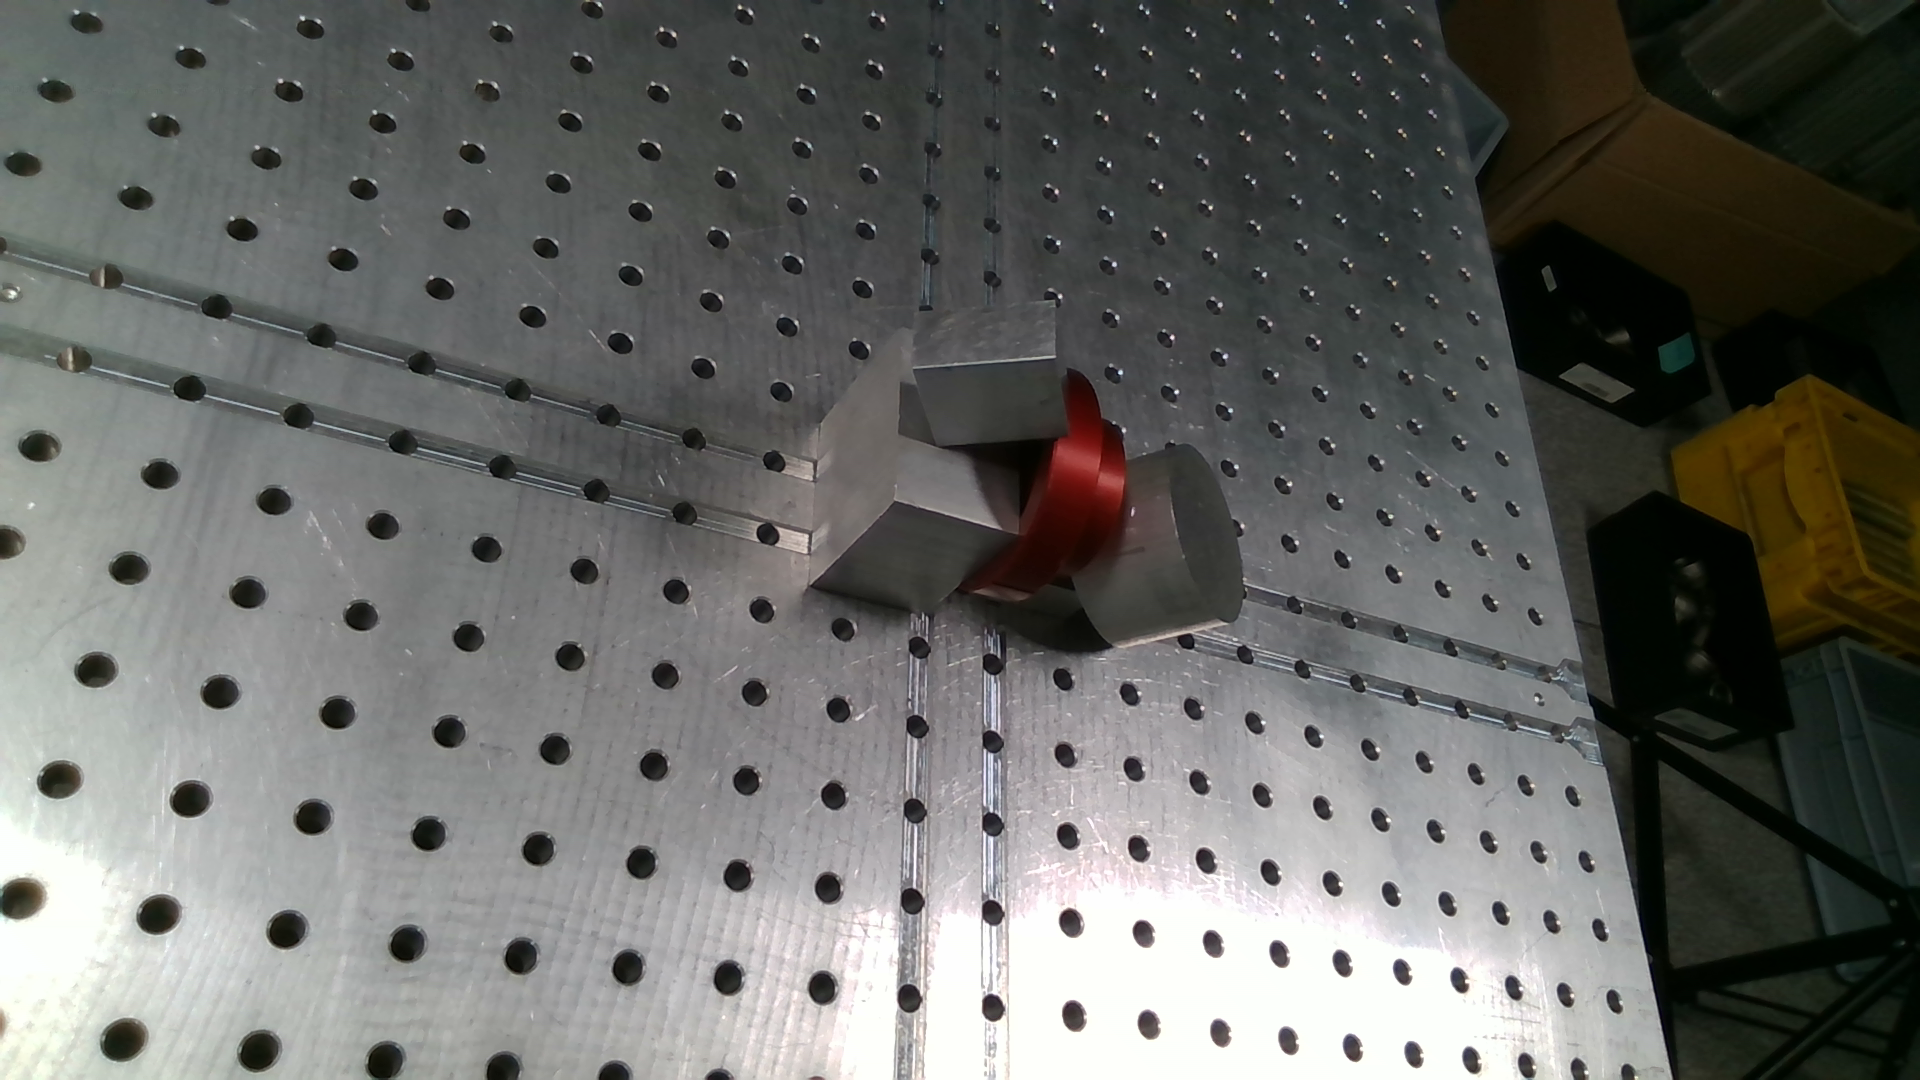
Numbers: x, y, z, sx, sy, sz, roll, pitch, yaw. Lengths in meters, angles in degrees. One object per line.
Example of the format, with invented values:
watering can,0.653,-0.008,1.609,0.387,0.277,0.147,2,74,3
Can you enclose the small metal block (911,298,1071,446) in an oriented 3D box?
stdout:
small metal block,0.012,-0.059,0.495,0.050,0.050,0.025,-4,61,9

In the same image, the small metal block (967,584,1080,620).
small metal block,0.031,0.003,0.606,0.050,0.025,0.050,15,58,-24

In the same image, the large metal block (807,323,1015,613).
large metal block,-0.020,-0.026,0.554,0.050,0.080,0.080,15,58,-24

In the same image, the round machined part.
round machined part,0.031,-0.022,0.559,0.042,0.098,0.098,15,58,-24

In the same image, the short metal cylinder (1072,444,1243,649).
short metal cylinder,0.085,0.003,0.602,0.080,0.050,0.080,37,45,-49
